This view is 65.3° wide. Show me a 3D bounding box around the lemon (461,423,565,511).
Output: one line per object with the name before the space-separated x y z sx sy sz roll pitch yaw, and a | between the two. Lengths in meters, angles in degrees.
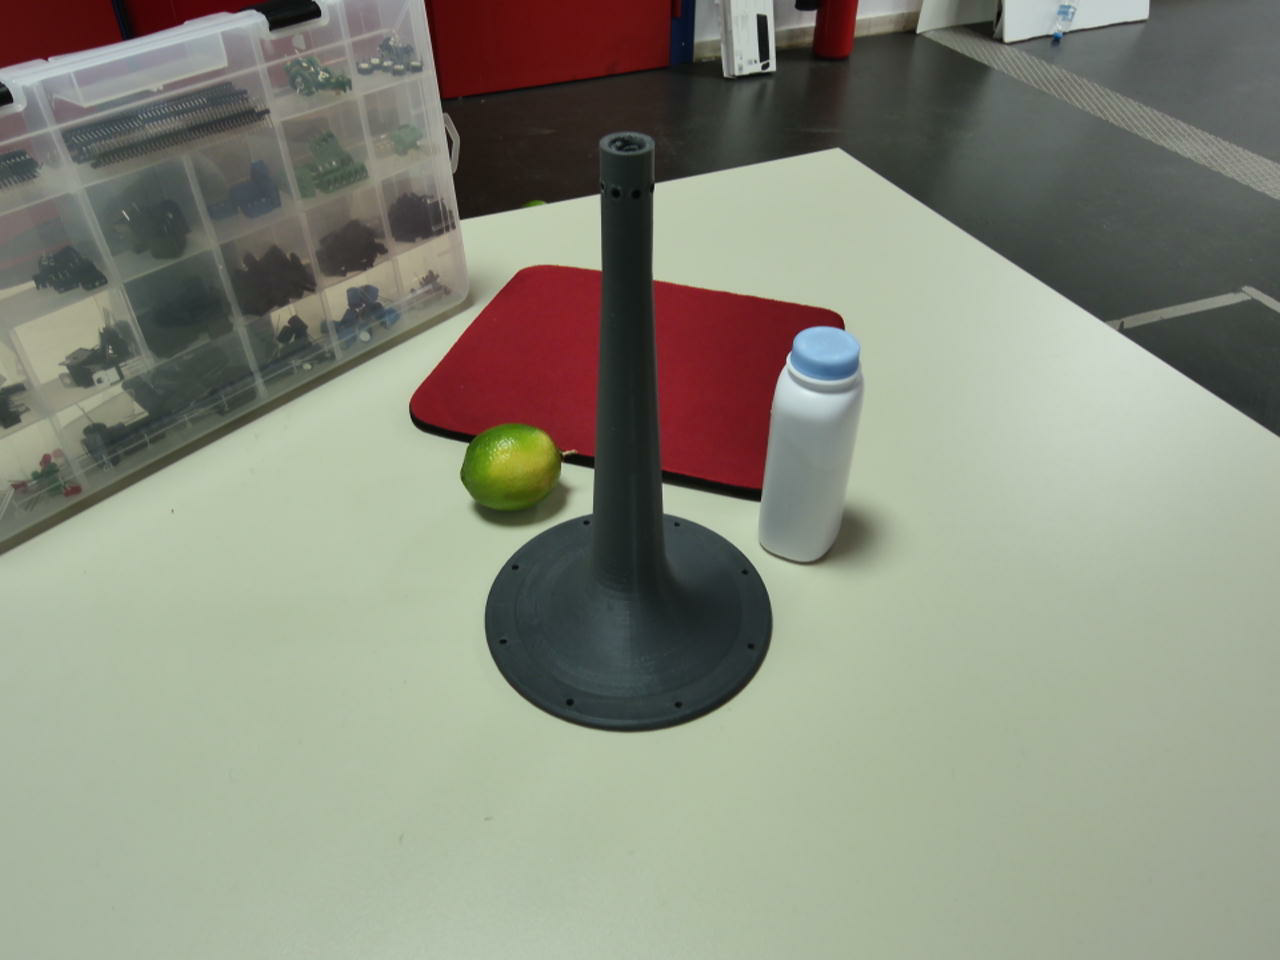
lemon | -0.075 -0.007 0.587 0.055 0.050 0.054 18 41 19
